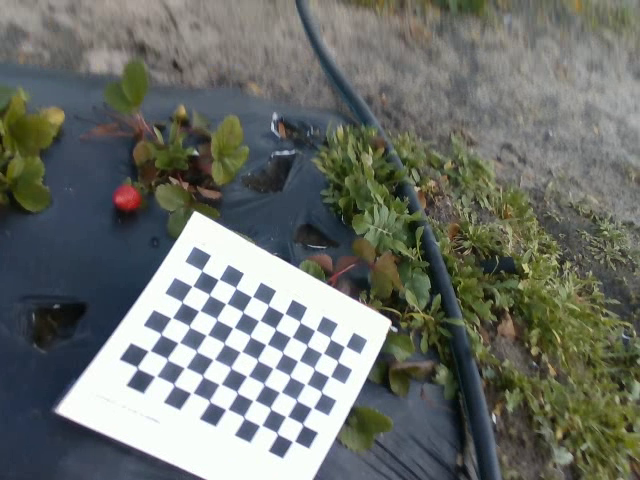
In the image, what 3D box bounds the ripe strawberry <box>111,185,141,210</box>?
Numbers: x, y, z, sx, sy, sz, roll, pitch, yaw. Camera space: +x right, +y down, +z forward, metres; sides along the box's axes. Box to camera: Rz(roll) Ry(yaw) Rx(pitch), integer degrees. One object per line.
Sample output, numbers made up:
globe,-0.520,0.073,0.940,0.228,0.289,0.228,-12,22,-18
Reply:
ripe strawberry,-0.249,-0.062,0.833,0.041,0.045,0.052,-30,9,12
